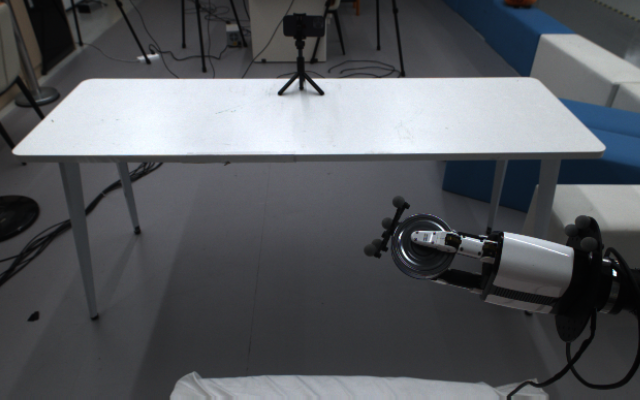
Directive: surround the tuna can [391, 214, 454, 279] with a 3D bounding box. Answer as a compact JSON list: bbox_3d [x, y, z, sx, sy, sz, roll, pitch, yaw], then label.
[{"bbox_3d":[0.141,0.060,0.651,0.085,0.034,0.085,-2,71,5],"label":"tuna can"}]
